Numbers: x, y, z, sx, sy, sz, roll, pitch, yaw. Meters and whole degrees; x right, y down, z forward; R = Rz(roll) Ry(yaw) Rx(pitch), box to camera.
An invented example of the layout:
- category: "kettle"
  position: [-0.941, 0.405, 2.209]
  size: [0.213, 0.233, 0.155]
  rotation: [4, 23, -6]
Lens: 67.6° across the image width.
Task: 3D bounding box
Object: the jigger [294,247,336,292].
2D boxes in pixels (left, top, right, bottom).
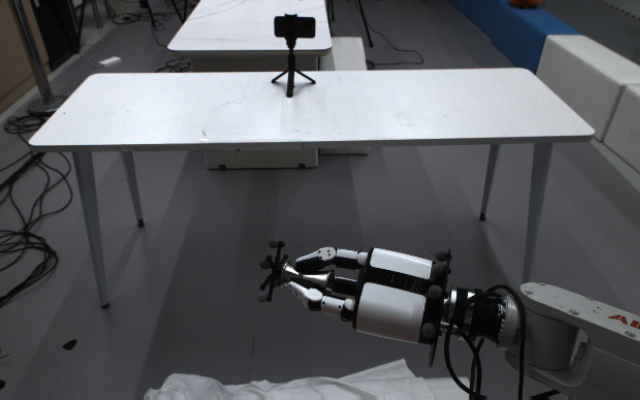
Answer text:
- category: "jigger"
  position: [-0.013, 0.108, 0.692]
  size: [0.071, 0.043, 0.043]
  rotation: [10, 35, 15]
